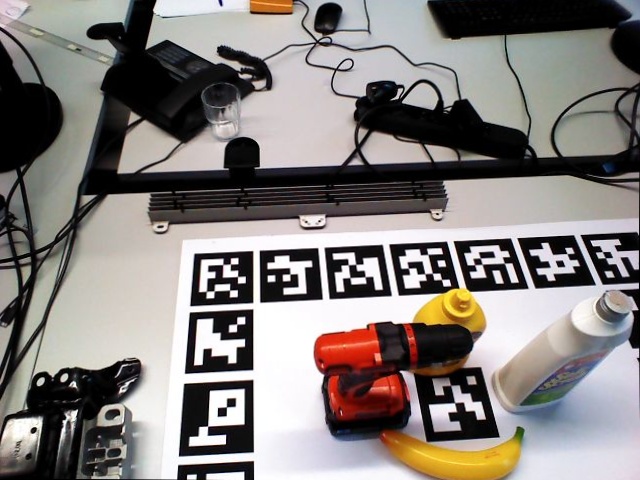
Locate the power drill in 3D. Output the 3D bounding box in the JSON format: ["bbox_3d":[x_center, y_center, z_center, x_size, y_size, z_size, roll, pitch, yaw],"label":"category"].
[{"bbox_3d":[0.086,0.161,0.631,0.184,0.188,0.057,-3,49,-6],"label":"power drill"}]

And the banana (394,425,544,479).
[{"bbox_3d":[0.195,0.277,0.665,0.198,0.039,0.074,-1,59,1],"label":"banana"}]

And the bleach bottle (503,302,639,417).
[{"bbox_3d":[0.317,0.148,0.640,0.102,0.252,0.067,-9,57,-7],"label":"bleach bottle"}]

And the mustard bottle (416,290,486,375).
[{"bbox_3d":[0.183,0.118,0.685,0.096,0.192,0.058,-1,55,-3],"label":"mustard bottle"}]
